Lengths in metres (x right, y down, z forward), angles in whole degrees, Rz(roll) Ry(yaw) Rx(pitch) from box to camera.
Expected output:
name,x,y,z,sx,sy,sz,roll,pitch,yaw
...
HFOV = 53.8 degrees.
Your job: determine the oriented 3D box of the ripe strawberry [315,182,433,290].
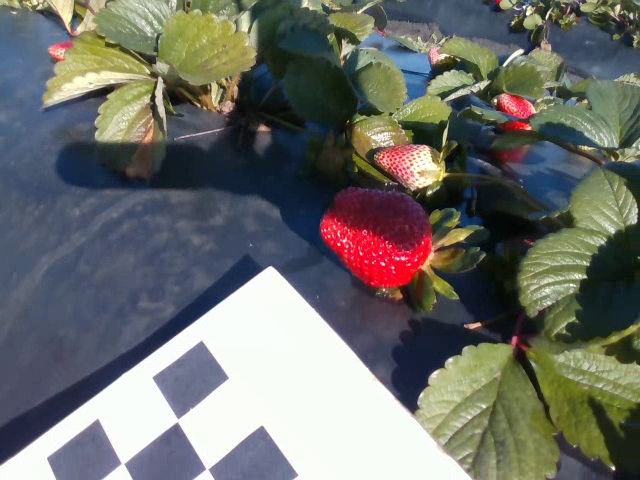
name,x,y,z,sx,sy,sz,roll,pitch,yaw
ripe strawberry,0.024,-0.003,0.286,0.058,0.066,0.061,-22,-42,36
